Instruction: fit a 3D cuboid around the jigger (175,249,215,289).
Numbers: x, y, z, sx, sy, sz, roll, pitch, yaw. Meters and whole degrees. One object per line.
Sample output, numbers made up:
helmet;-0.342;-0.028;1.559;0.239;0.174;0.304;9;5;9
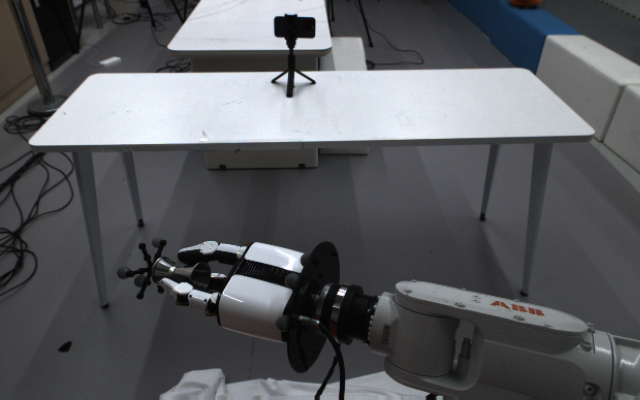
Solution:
jigger;-0.182;0.096;0.661;0.071;0.043;0.043;5;33;24
